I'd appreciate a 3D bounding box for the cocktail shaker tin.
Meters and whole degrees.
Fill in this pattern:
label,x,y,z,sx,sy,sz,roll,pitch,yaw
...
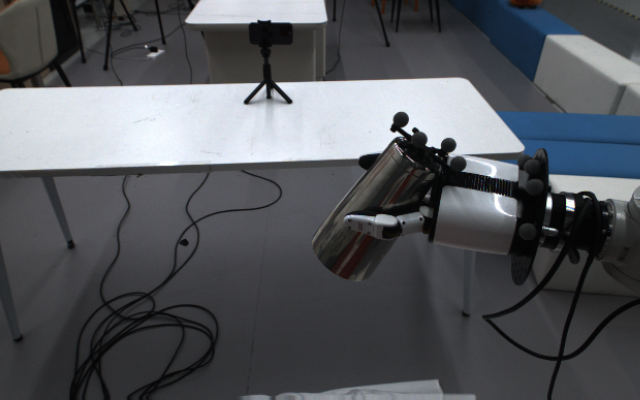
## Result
label,x,y,z,sx,sy,sz,roll,pitch,yaw
cocktail shaker tin,0.072,0.005,0.593,0.093,0.170,0.093,26,32,-17
